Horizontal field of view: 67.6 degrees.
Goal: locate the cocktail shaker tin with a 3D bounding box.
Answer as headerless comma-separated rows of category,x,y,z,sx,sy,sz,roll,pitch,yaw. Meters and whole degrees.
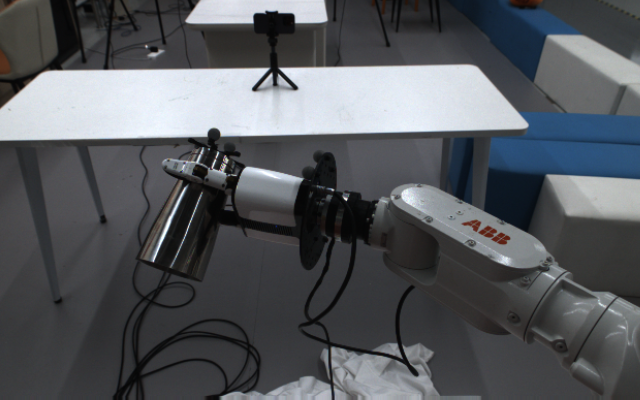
cocktail shaker tin,-0.175,0.015,0.669,0.093,0.093,0.170,13,72,15
